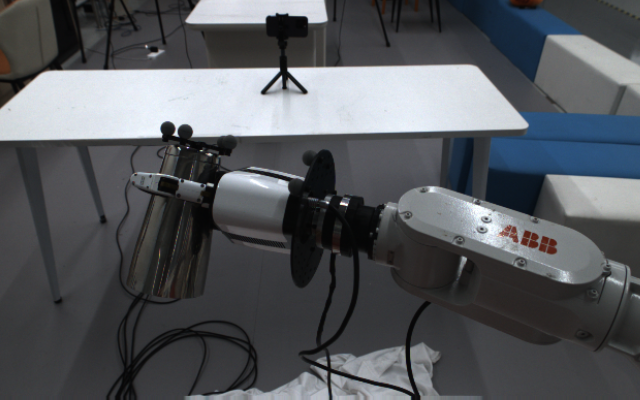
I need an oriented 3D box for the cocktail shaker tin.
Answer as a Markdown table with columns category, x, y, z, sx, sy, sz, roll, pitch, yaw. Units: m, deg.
| category | x | y | z | sx | sy | sz | roll | pitch | yaw |
| --- | --- | --- | --- | --- | --- | --- | --- | --- | --- |
| cocktail shaker tin | -0.166 | 0.022 | 0.586 | 0.093 | 0.170 | 0.093 | 12 | 1 | 0 |
